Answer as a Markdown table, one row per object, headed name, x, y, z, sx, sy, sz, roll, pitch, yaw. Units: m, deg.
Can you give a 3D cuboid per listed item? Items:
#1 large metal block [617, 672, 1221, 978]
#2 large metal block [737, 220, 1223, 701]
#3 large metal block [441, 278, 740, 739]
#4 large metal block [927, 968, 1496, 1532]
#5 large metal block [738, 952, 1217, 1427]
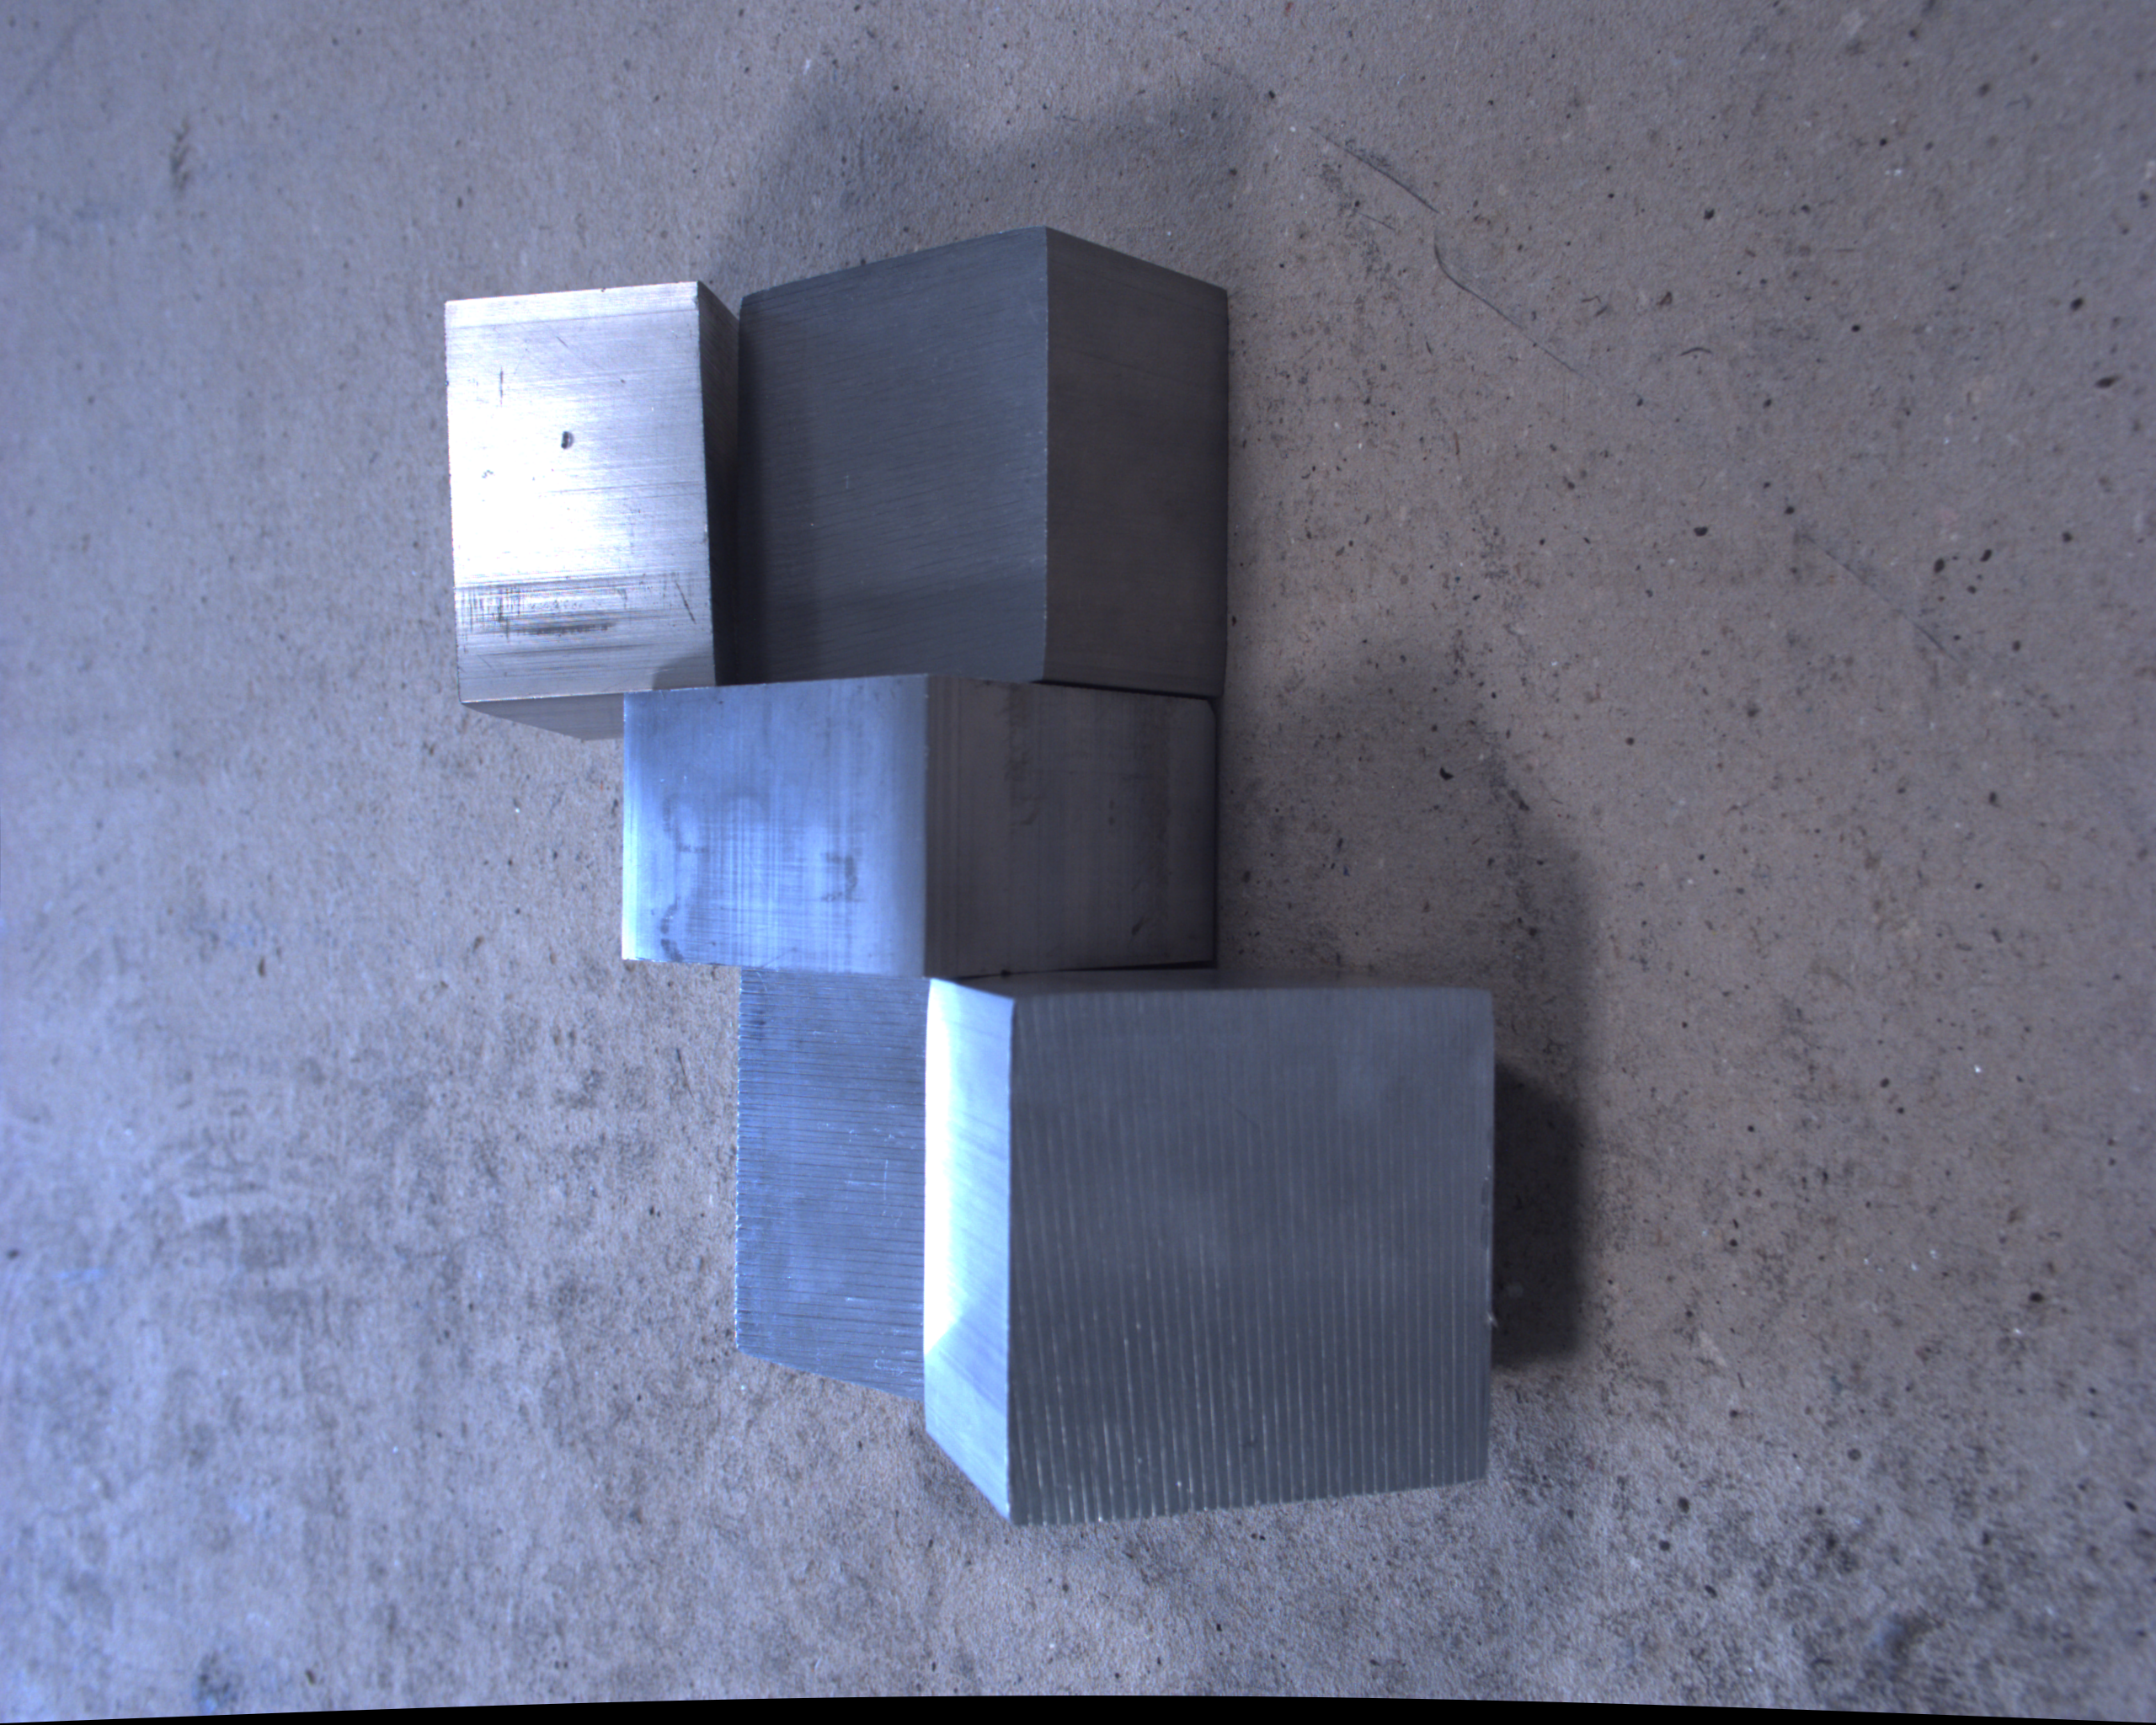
| name | x | y | z | sx | sy | sz | roll | pitch | yaw |
| --- | --- | --- | --- | --- | --- | --- | --- | --- | --- |
| large metal block | -0.029 | -0.007 | 0.395 | 0.080 | 0.081 | 0.050 | 1 | 91 | 40 |
| large metal block | -0.020 | -0.072 | 0.404 | 0.080 | 0.050 | 0.080 | 1 | 90 | 40 |
| large metal block | -0.092 | -0.069 | 0.437 | 0.050 | 0.080 | 0.080 | -3 | 88 | 6 |
| large metal block | 0.020 | 0.059 | 0.344 | 0.050 | 0.081 | 0.080 | -179 | 89 | -72 |
| large metal block | -0.020 | 0.058 | 0.407 | 0.080 | 0.050 | 0.079 | 1 | 92 | 40 |
